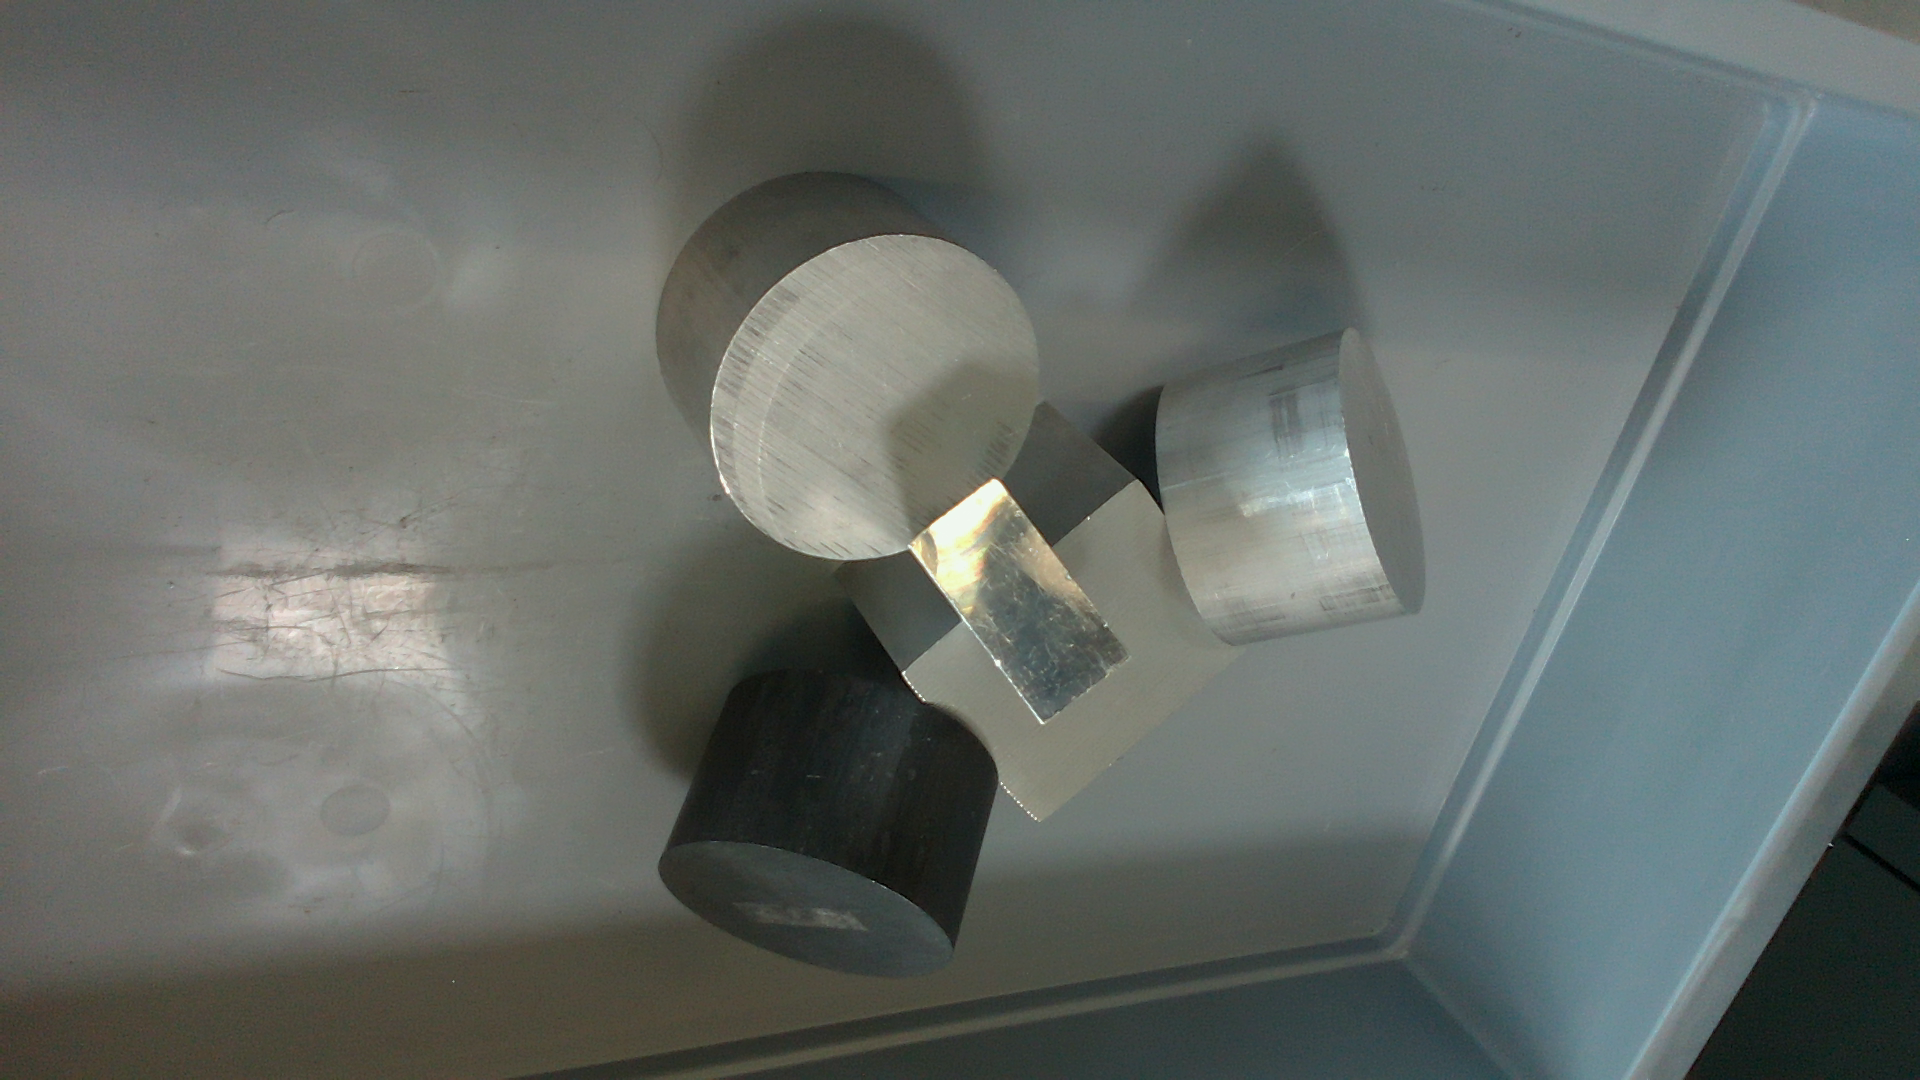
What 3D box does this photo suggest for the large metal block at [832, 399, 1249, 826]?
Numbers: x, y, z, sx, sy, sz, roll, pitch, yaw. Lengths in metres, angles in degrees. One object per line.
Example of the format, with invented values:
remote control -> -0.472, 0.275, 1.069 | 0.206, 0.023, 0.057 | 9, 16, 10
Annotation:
large metal block -> 0.024, 0.022, 0.395 | 0.080, 0.050, 0.080 | -39, 129, -2

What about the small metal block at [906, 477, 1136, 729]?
small metal block -> 0.014, 0.015, 0.325 | 0.025, 0.050, 0.050 | -37, 86, -1

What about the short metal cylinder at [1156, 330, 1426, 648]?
short metal cylinder -> 0.094, -0.013, 0.386 | 0.050, 0.080, 0.080 | -13, 136, 28

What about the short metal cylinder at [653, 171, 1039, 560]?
short metal cylinder -> -0.028, -0.042, 0.331 | 0.080, 0.050, 0.080 | -14, 124, -21

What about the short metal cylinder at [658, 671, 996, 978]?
short metal cylinder -> -0.035, 0.079, 0.374 | 0.080, 0.050, 0.080 | 12, 145, 9
